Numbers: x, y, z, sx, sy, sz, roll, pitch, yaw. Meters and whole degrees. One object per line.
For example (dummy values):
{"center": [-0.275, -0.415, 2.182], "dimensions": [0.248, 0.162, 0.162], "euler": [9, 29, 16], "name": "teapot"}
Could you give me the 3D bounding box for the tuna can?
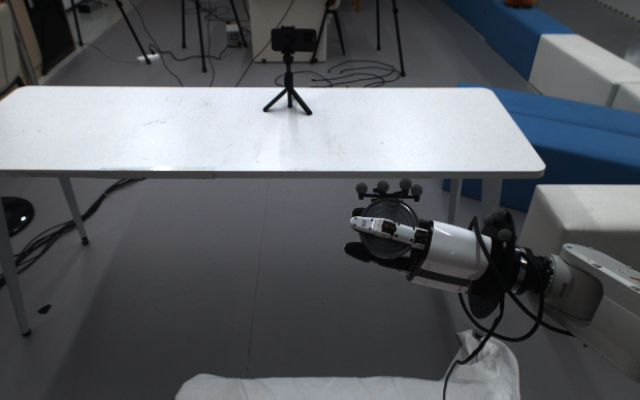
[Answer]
{"center": [0.098, 0.040, 0.695], "dimensions": [0.085, 0.034, 0.085], "euler": [-1, 76, 4], "name": "tuna can"}
